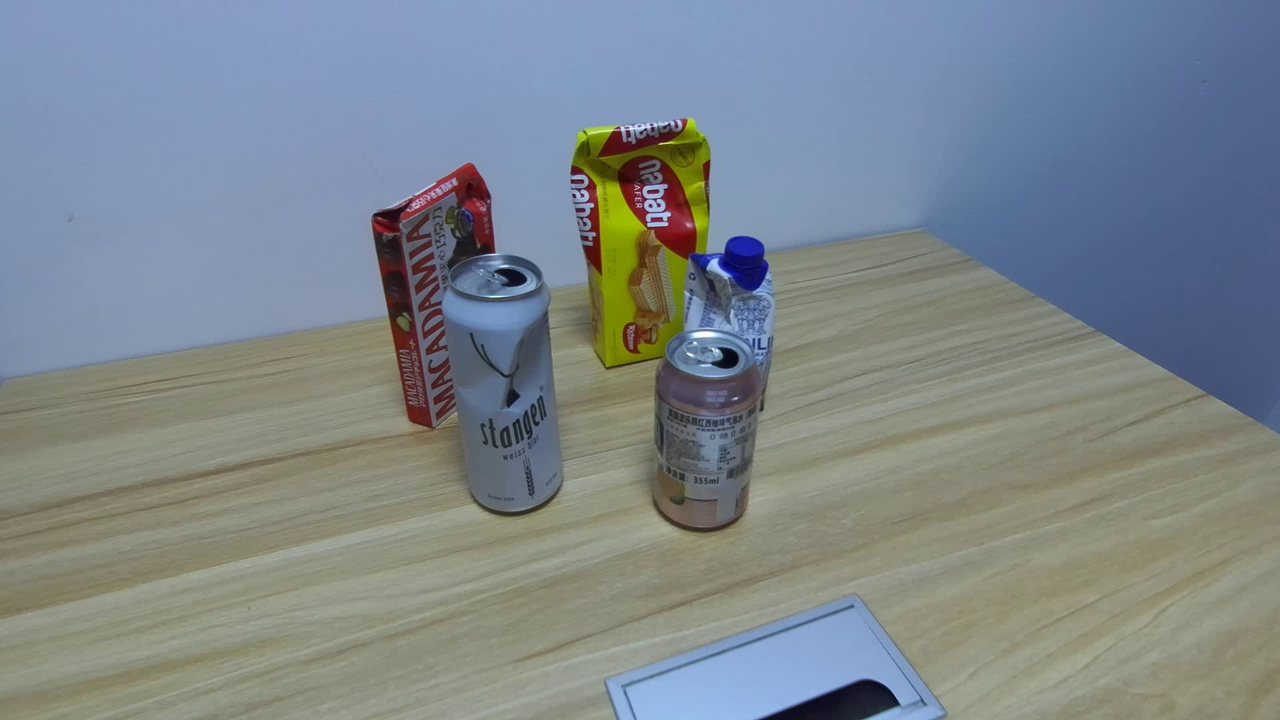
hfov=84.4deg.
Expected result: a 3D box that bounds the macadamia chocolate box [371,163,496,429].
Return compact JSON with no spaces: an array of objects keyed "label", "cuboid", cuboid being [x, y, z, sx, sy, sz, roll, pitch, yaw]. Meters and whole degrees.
[{"label":"macadamia chocolate box","cuboid":[-0.147,-0.047,0.543,0.027,0.187,0.103,20,38,21]}]

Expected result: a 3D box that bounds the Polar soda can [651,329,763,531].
[{"label":"Polar soda can","cuboid":[0.042,0.046,0.458,0.067,0.126,0.067,0,32,0]}]

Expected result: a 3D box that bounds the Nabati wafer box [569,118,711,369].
[{"label":"Nabati wafer box","cuboid":[0.004,-0.094,0.595,0.113,0.205,0.042,-12,34,-14]}]

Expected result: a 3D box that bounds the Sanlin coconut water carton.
[{"label":"Sanlin coconut water carton","cuboid":[0.070,-0.027,0.551,0.057,0.145,0.068,-13,27,-31]}]

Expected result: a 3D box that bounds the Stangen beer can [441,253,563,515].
[{"label":"Stangen beer can","cuboid":[-0.085,0.018,0.458,0.070,0.173,0.069,-15,37,-21]}]
